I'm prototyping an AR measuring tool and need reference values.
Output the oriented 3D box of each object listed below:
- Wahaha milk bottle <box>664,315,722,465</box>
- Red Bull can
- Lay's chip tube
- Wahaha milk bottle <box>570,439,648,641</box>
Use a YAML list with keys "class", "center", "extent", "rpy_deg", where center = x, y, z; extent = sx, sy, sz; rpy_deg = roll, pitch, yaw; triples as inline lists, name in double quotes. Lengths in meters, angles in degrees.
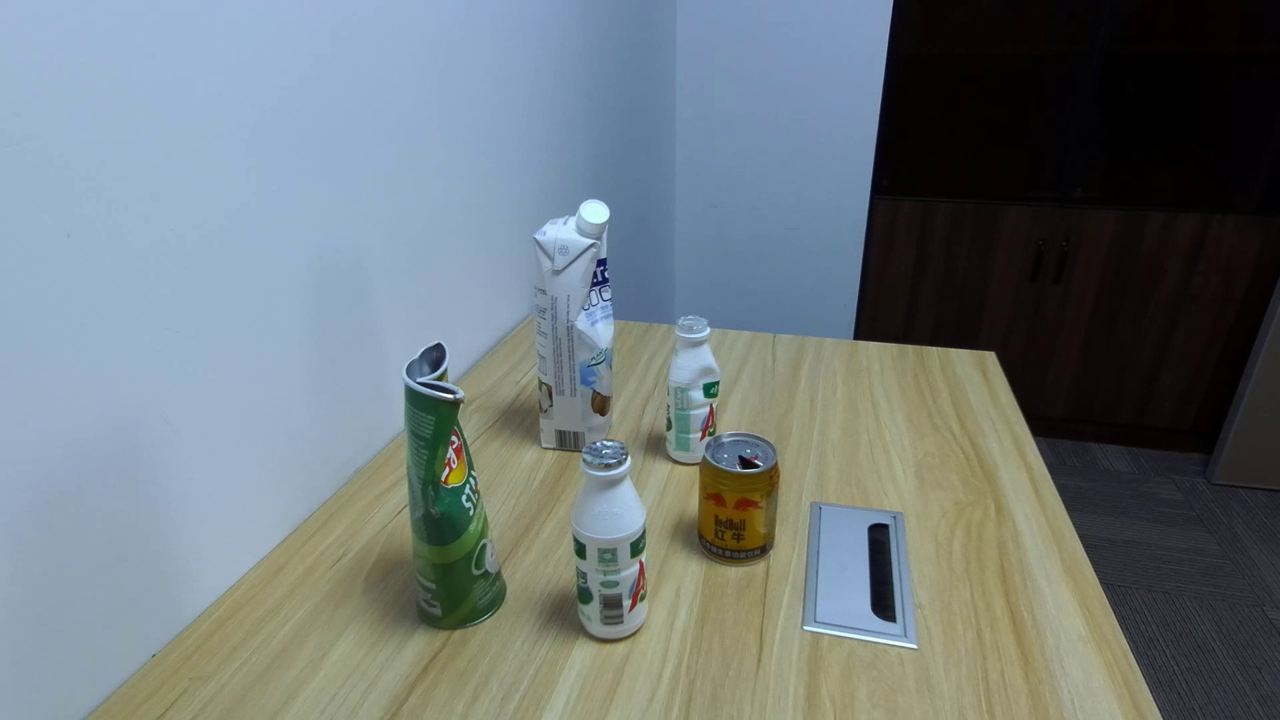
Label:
- class: "Wahaha milk bottle"
  center: [0.053, 0.031, 0.702]
  extent: [0.055, 0.149, 0.055]
  rpy_deg: [0, 27, 0]
- class: "Red Bull can"
  center: [0.082, 0.114, 0.590]
  extent: [0.067, 0.093, 0.067]
  rpy_deg: [0, 26, 0]
- class: "Lay's chip tube"
  center: [-0.141, 0.096, 0.514]
  extent: [0.077, 0.201, 0.069]
  rpy_deg: [22, 34, 37]
- class: "Wahaha milk bottle"
  center: [-0.021, 0.128, 0.501]
  extent: [0.053, 0.147, 0.053]
  rpy_deg: [-1, 26, 1]
